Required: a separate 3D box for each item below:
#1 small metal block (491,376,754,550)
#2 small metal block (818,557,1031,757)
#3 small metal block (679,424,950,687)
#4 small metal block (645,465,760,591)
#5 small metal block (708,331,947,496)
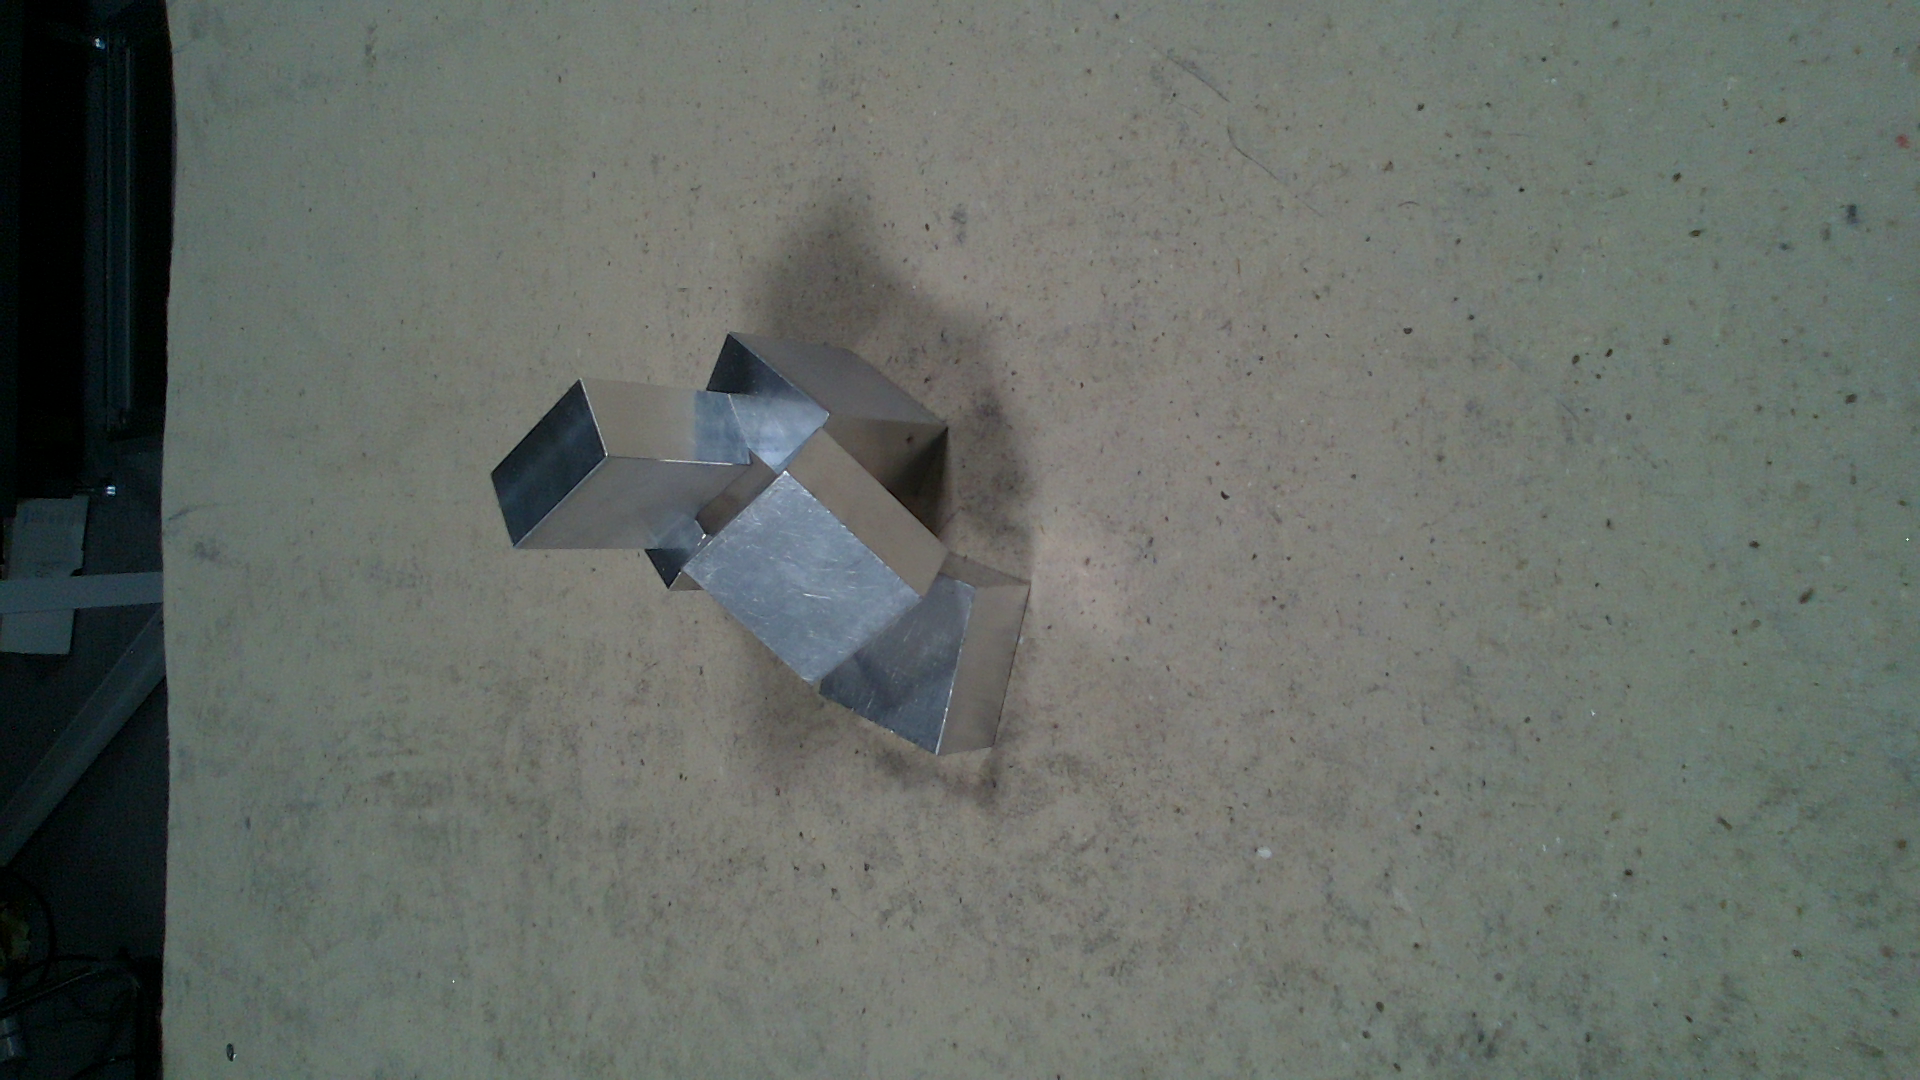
[{"bbox_3d":[-0.097,-0.021,0.395,0.050,0.050,0.025,-37,67,34],"label":"small metal block"},{"bbox_3d":[-0.011,0.030,0.405,0.050,0.025,0.050,20,103,38],"label":"small metal block"},{"bbox_3d":[-0.040,0.005,0.380,0.050,0.025,0.050,44,124,-11],"label":"small metal block"},{"bbox_3d":[-0.080,-0.011,0.446,0.025,0.050,0.050,-52,59,27],"label":"small metal block"},{"bbox_3d":[-0.041,-0.037,0.414,0.050,0.050,0.025,39,114,33],"label":"small metal block"}]
